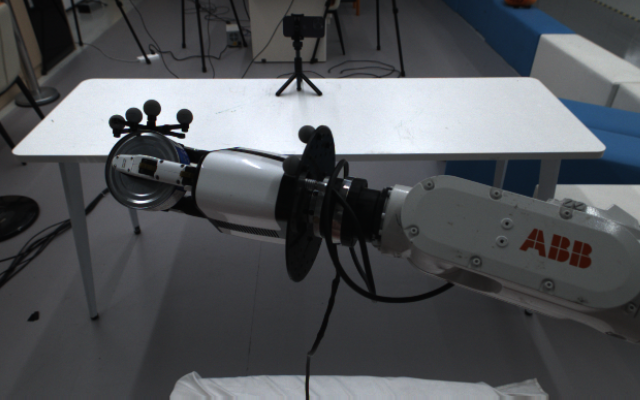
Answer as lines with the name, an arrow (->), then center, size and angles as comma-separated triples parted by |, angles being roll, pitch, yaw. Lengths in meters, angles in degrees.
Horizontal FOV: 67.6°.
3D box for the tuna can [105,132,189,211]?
tuna can -> -0.182, -0.029, 0.527 | 0.085, 0.085, 0.034 | 10, -6, 11
